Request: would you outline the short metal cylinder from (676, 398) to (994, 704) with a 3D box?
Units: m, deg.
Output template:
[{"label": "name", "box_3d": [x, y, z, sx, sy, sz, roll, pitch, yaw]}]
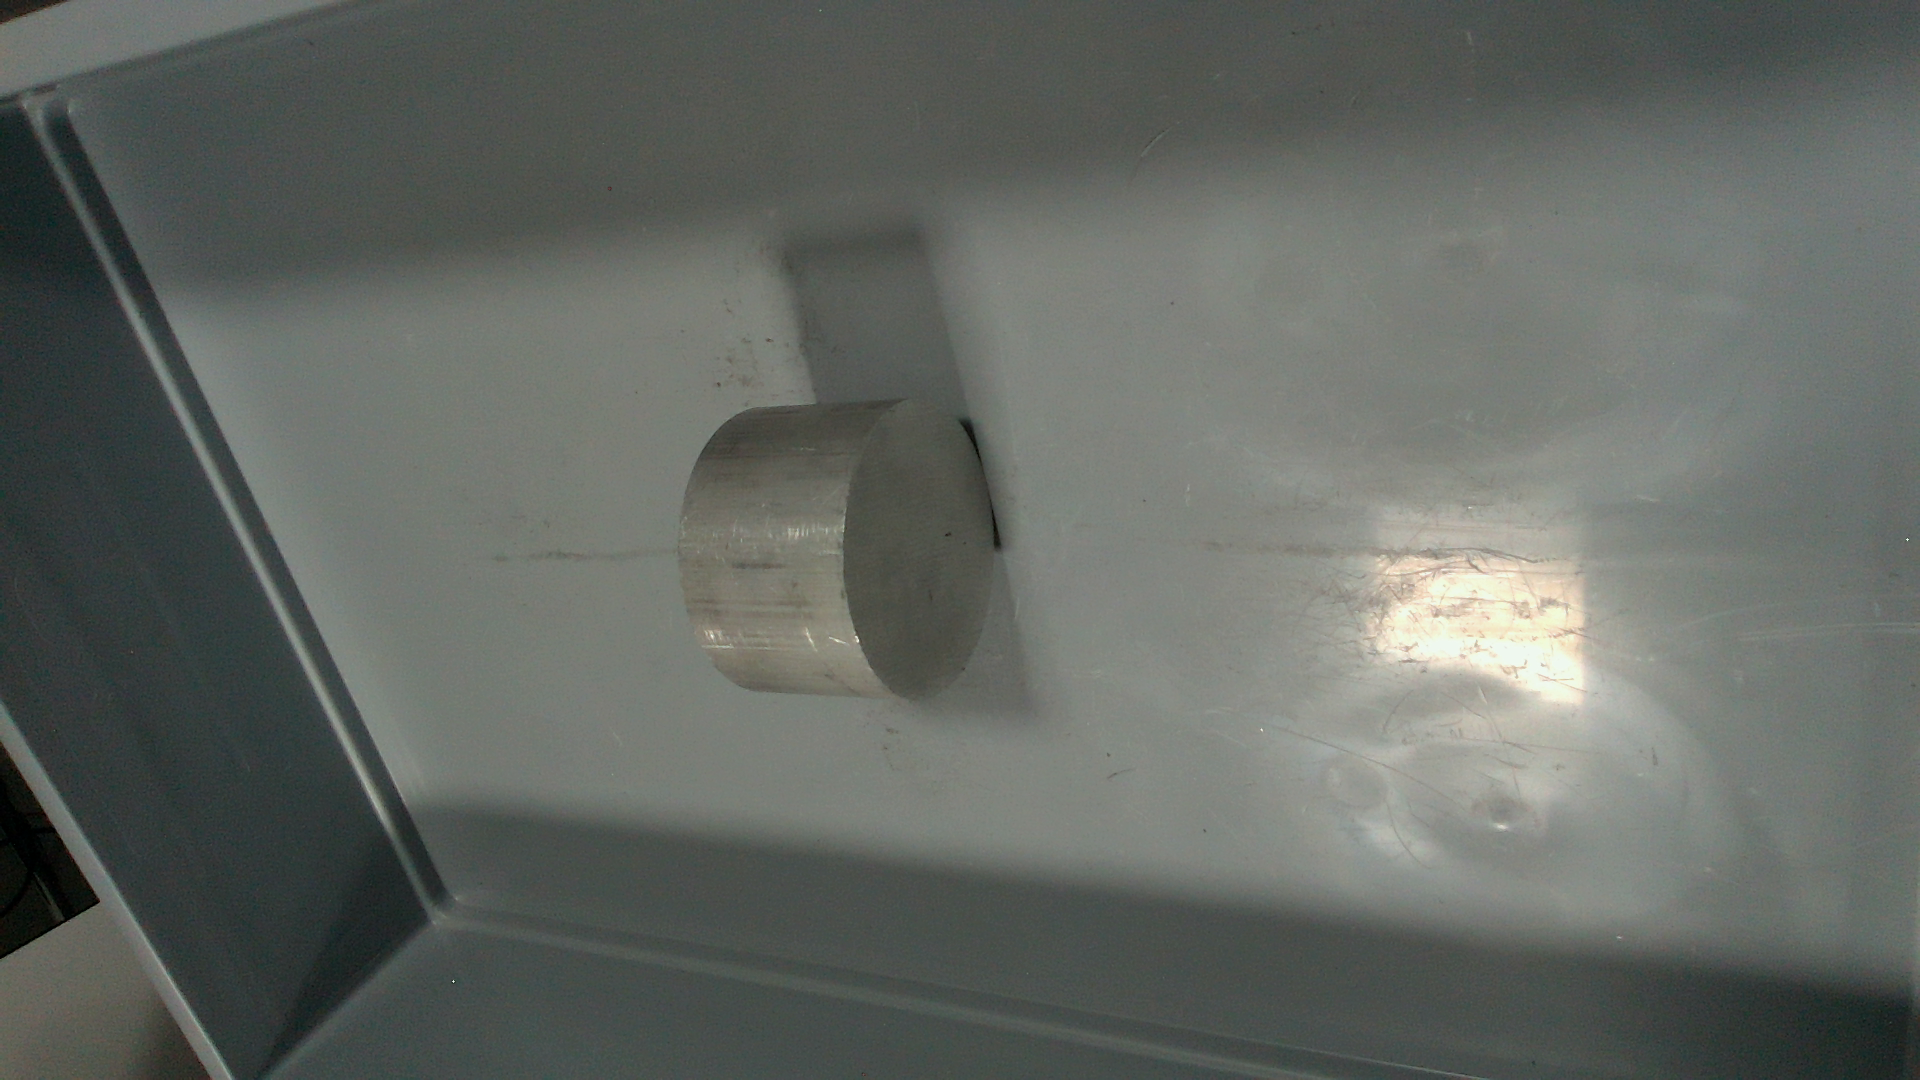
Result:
[{"label": "short metal cylinder", "box_3d": [-0.031, 0.003, 0.373, 0.050, 0.080, 0.080, 0, 119, 28]}]
